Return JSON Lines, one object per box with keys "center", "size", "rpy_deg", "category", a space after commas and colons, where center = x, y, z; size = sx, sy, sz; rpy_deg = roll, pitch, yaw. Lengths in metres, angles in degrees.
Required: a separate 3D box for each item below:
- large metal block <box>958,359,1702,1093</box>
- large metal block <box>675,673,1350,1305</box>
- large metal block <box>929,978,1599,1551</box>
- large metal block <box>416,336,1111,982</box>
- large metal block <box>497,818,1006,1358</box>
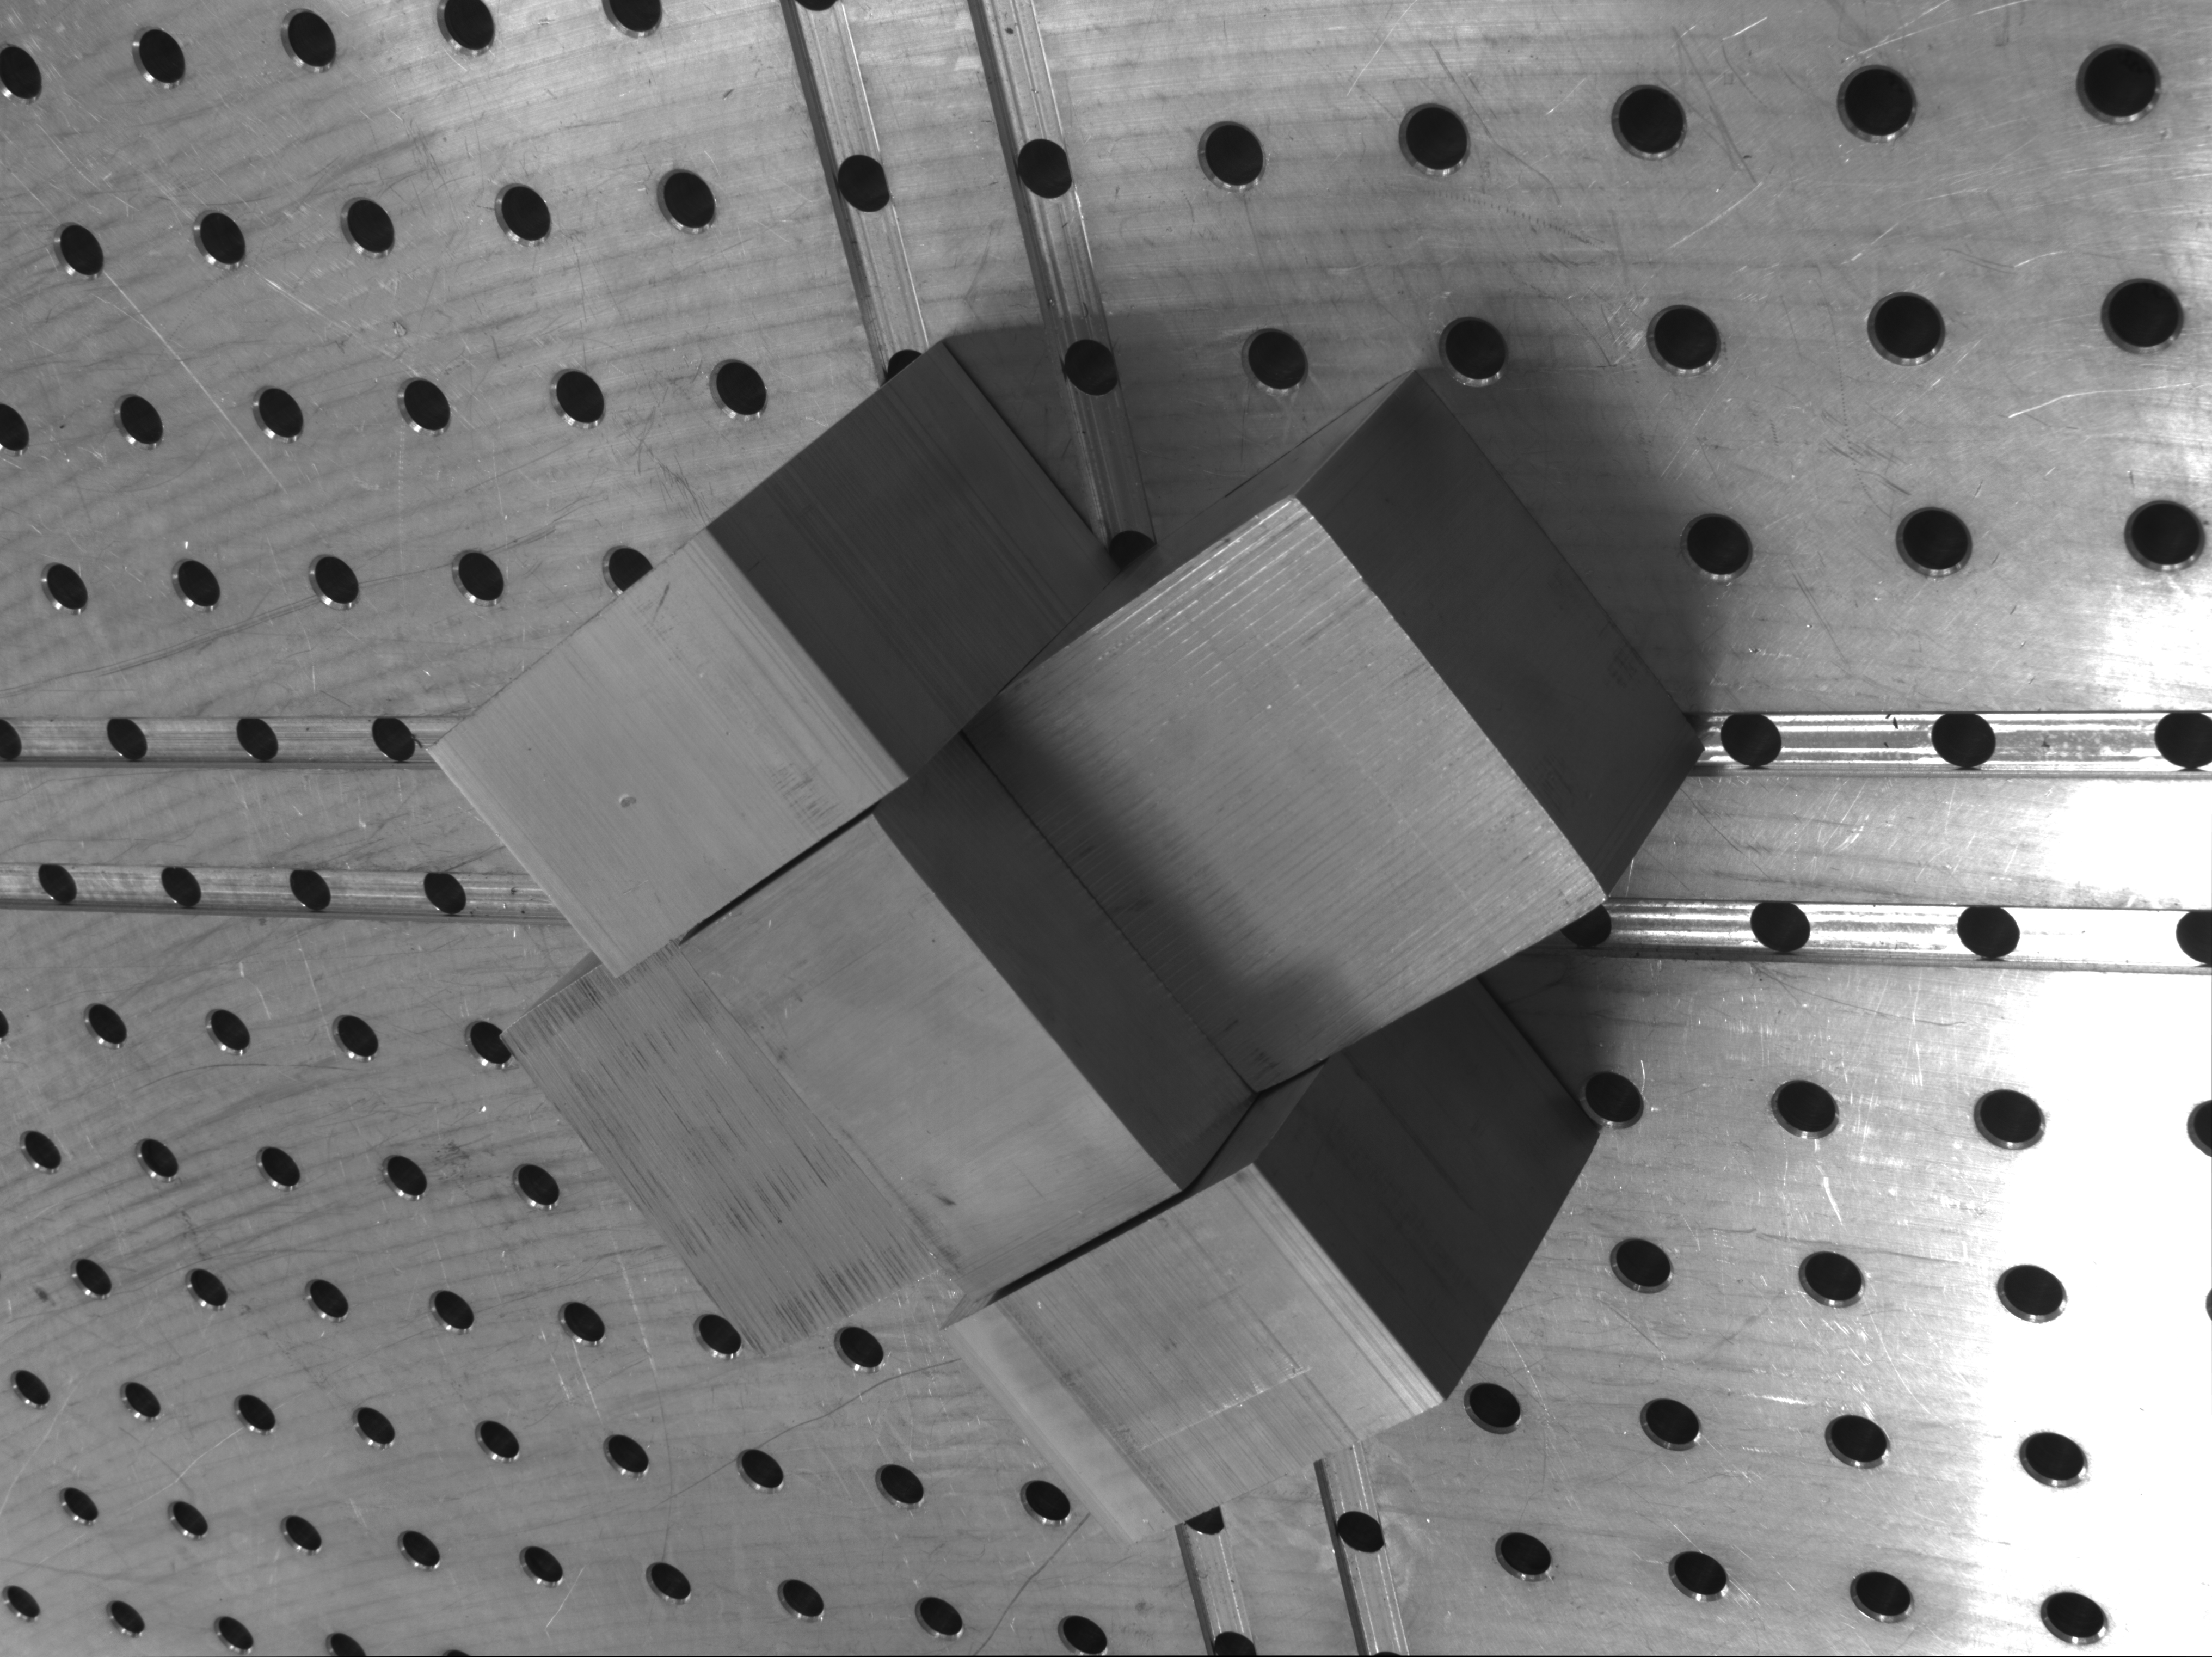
{"center": [0.036, -0.016, 0.600], "size": [0.080, 0.050, 0.080], "rpy_deg": [-33, 102, 38], "category": "large metal block"}
{"center": [-0.013, 0.020, 0.630], "size": [0.050, 0.080, 0.080], "rpy_deg": [-33, 100, 38], "category": "large metal block"}
{"center": [0.028, 0.070, 0.638], "size": [0.080, 0.080, 0.050], "rpy_deg": [-33, 100, 37], "category": "large metal block"}
{"center": [-0.056, -0.029, 0.623], "size": [0.080, 0.080, 0.050], "rpy_deg": [-32, 100, 38], "category": "large metal block"}
{"center": [-0.052, 0.041, 0.684], "size": [0.080, 0.050, 0.080], "rpy_deg": [-30, 101, 38], "category": "large metal block"}
